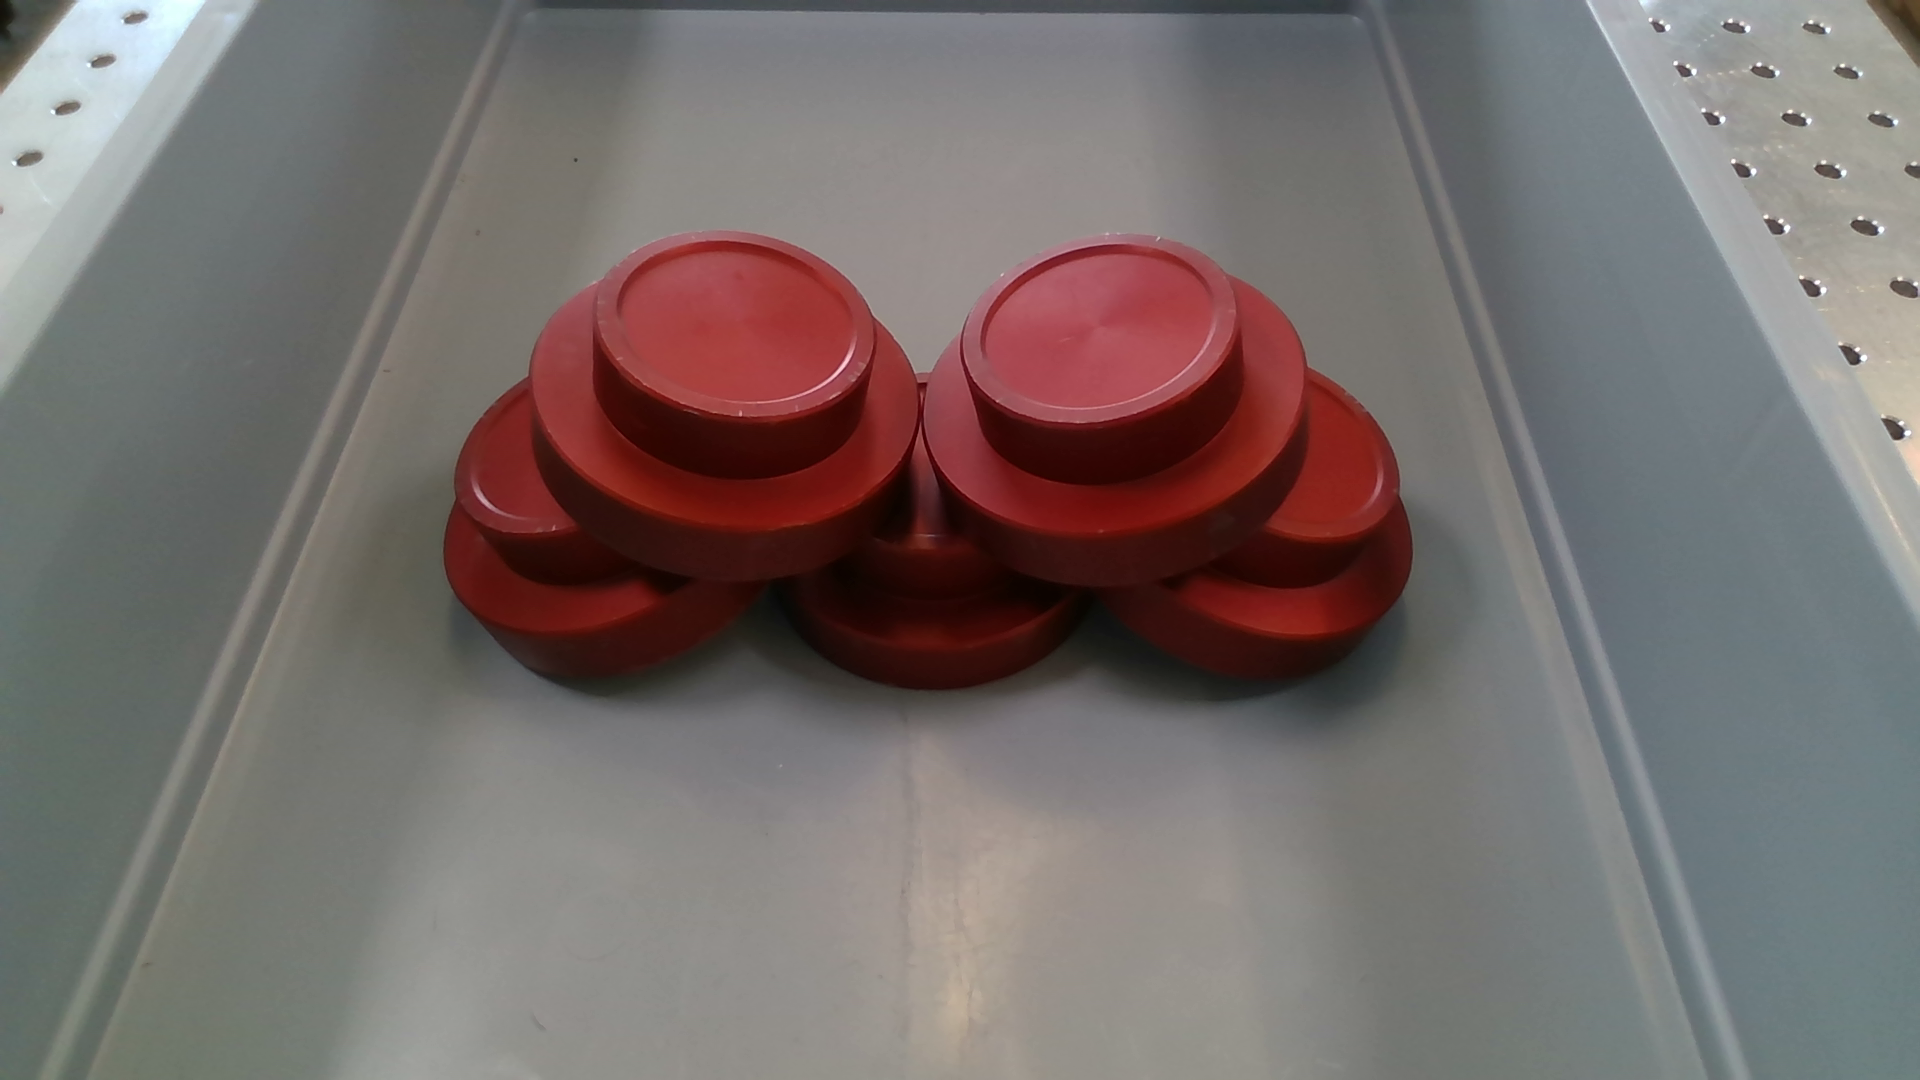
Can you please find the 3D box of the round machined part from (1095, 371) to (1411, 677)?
[{"bbox_3d":[0.080,-0.014,0.379,0.098,0.042,0.098,10,49,-12],"label":"round machined part"}]

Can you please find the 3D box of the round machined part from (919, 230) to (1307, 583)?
[{"bbox_3d":[0.037,-0.040,0.348,0.098,0.042,0.098,-8,49,9],"label":"round machined part"}]

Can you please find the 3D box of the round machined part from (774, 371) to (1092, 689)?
[{"bbox_3d":[-0.006,-0.010,0.390,0.098,0.042,0.098,1,50,-1],"label":"round machined part"}]

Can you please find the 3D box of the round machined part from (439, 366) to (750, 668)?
[{"bbox_3d":[-0.098,-0.017,0.378,0.098,0.042,0.098,-10,49,11],"label":"round machined part"}]

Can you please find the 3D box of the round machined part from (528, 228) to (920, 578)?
[{"bbox_3d":[-0.058,-0.041,0.349,0.098,0.042,0.098,7,50,-9],"label":"round machined part"}]
